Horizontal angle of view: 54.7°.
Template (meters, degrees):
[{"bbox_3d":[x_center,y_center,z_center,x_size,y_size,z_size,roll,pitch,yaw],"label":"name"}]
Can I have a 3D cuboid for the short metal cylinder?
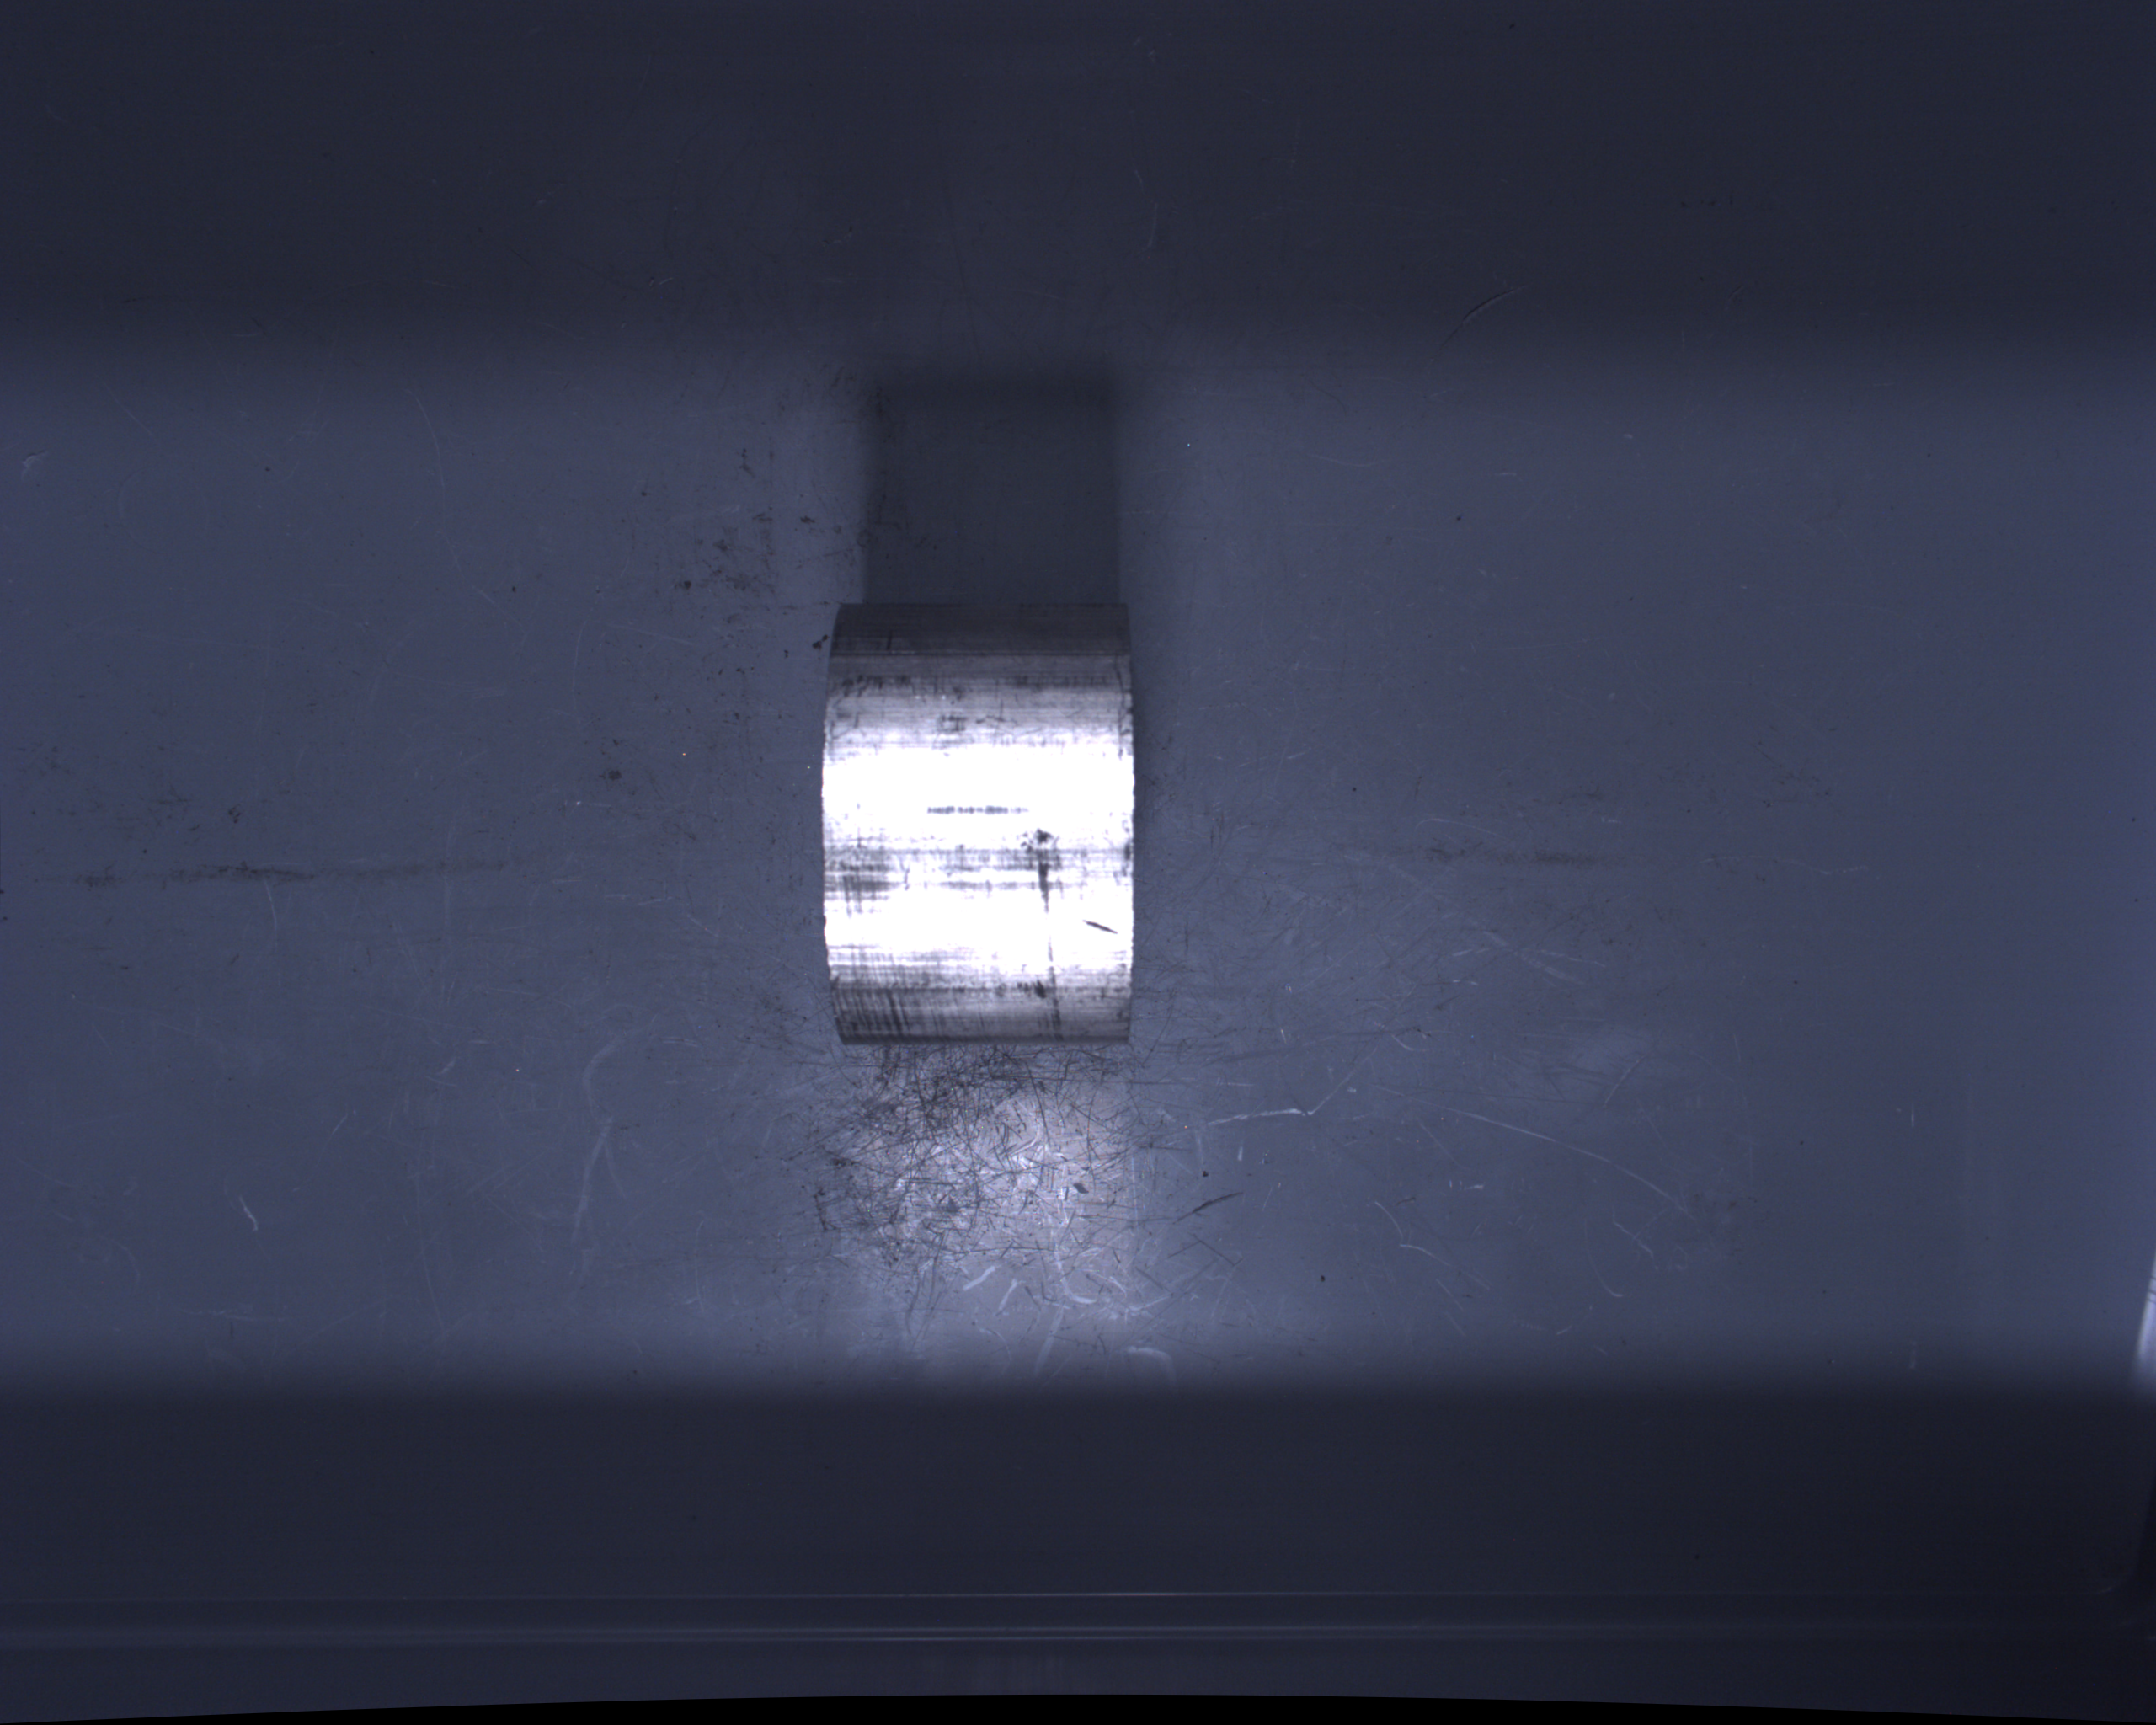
[{"bbox_3d":[-0.016,-0.007,0.377,0.050,0.080,0.079,0,110,-1],"label":"short metal cylinder"}]
